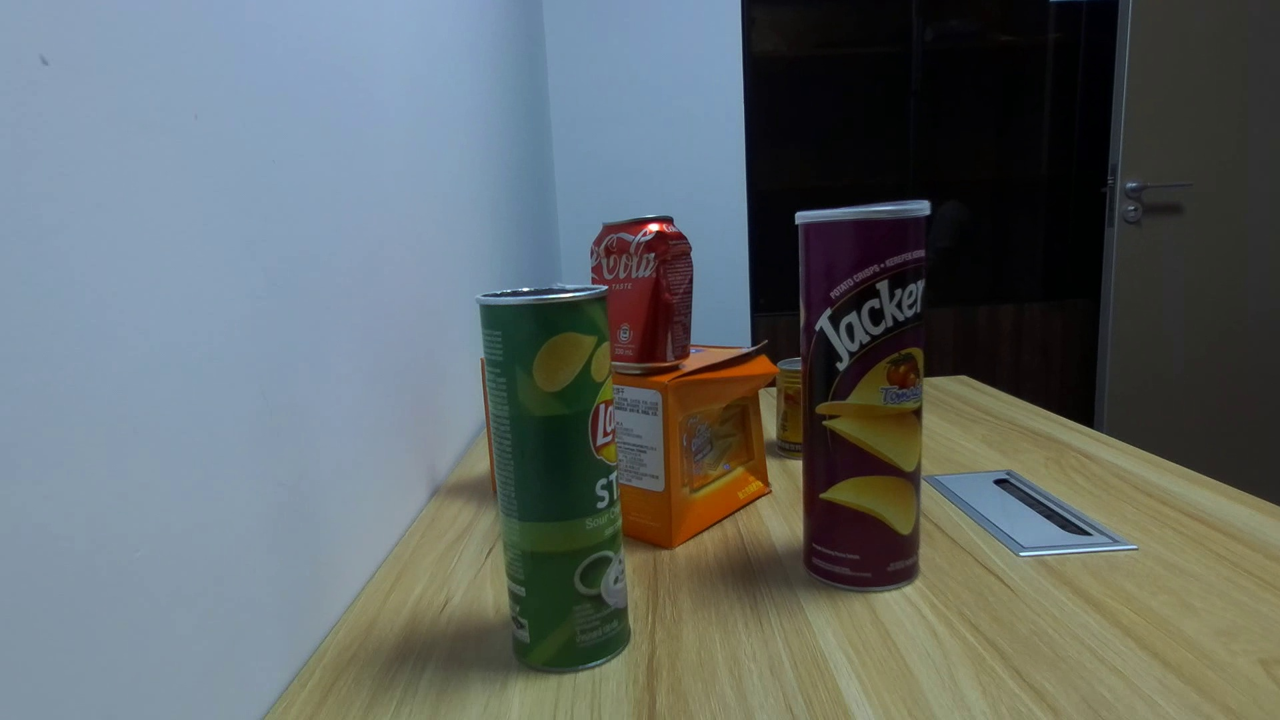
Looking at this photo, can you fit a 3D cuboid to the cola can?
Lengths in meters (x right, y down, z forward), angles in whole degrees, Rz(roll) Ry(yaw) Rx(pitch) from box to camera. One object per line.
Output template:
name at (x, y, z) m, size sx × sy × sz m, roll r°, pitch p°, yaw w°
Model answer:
cola can at (0.003, -0.049, 0.525) m, size 0.066 × 0.112 × 0.069 m, roll -9°, pitch 12°, yaw -28°

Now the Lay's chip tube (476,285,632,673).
Lay's chip tube at (-0.045, 0.061, 0.390) m, size 0.071 × 0.202 × 0.071 m, roll -3°, pitch 11°, yaw 1°

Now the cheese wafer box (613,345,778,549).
cheese wafer box at (-0.011, 0.054, 0.621) m, size 0.226 × 0.137 × 0.150 m, roll 5°, pitch 13°, yaw 41°

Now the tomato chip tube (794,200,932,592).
tomato chip tube at (0.143, 0.024, 0.455) m, size 0.078 × 0.233 × 0.078 m, roll -3°, pitch 9°, yaw 1°
